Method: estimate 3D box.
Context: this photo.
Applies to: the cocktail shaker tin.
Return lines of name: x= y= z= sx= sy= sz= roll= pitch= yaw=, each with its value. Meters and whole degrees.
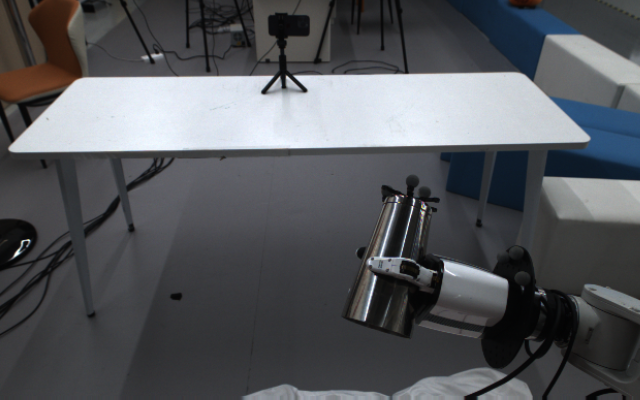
cocktail shaker tin: x=0.095 y=0.084 z=0.635 sx=0.093 sy=0.093 sz=0.170 roll=14 pitch=74 yaw=16
